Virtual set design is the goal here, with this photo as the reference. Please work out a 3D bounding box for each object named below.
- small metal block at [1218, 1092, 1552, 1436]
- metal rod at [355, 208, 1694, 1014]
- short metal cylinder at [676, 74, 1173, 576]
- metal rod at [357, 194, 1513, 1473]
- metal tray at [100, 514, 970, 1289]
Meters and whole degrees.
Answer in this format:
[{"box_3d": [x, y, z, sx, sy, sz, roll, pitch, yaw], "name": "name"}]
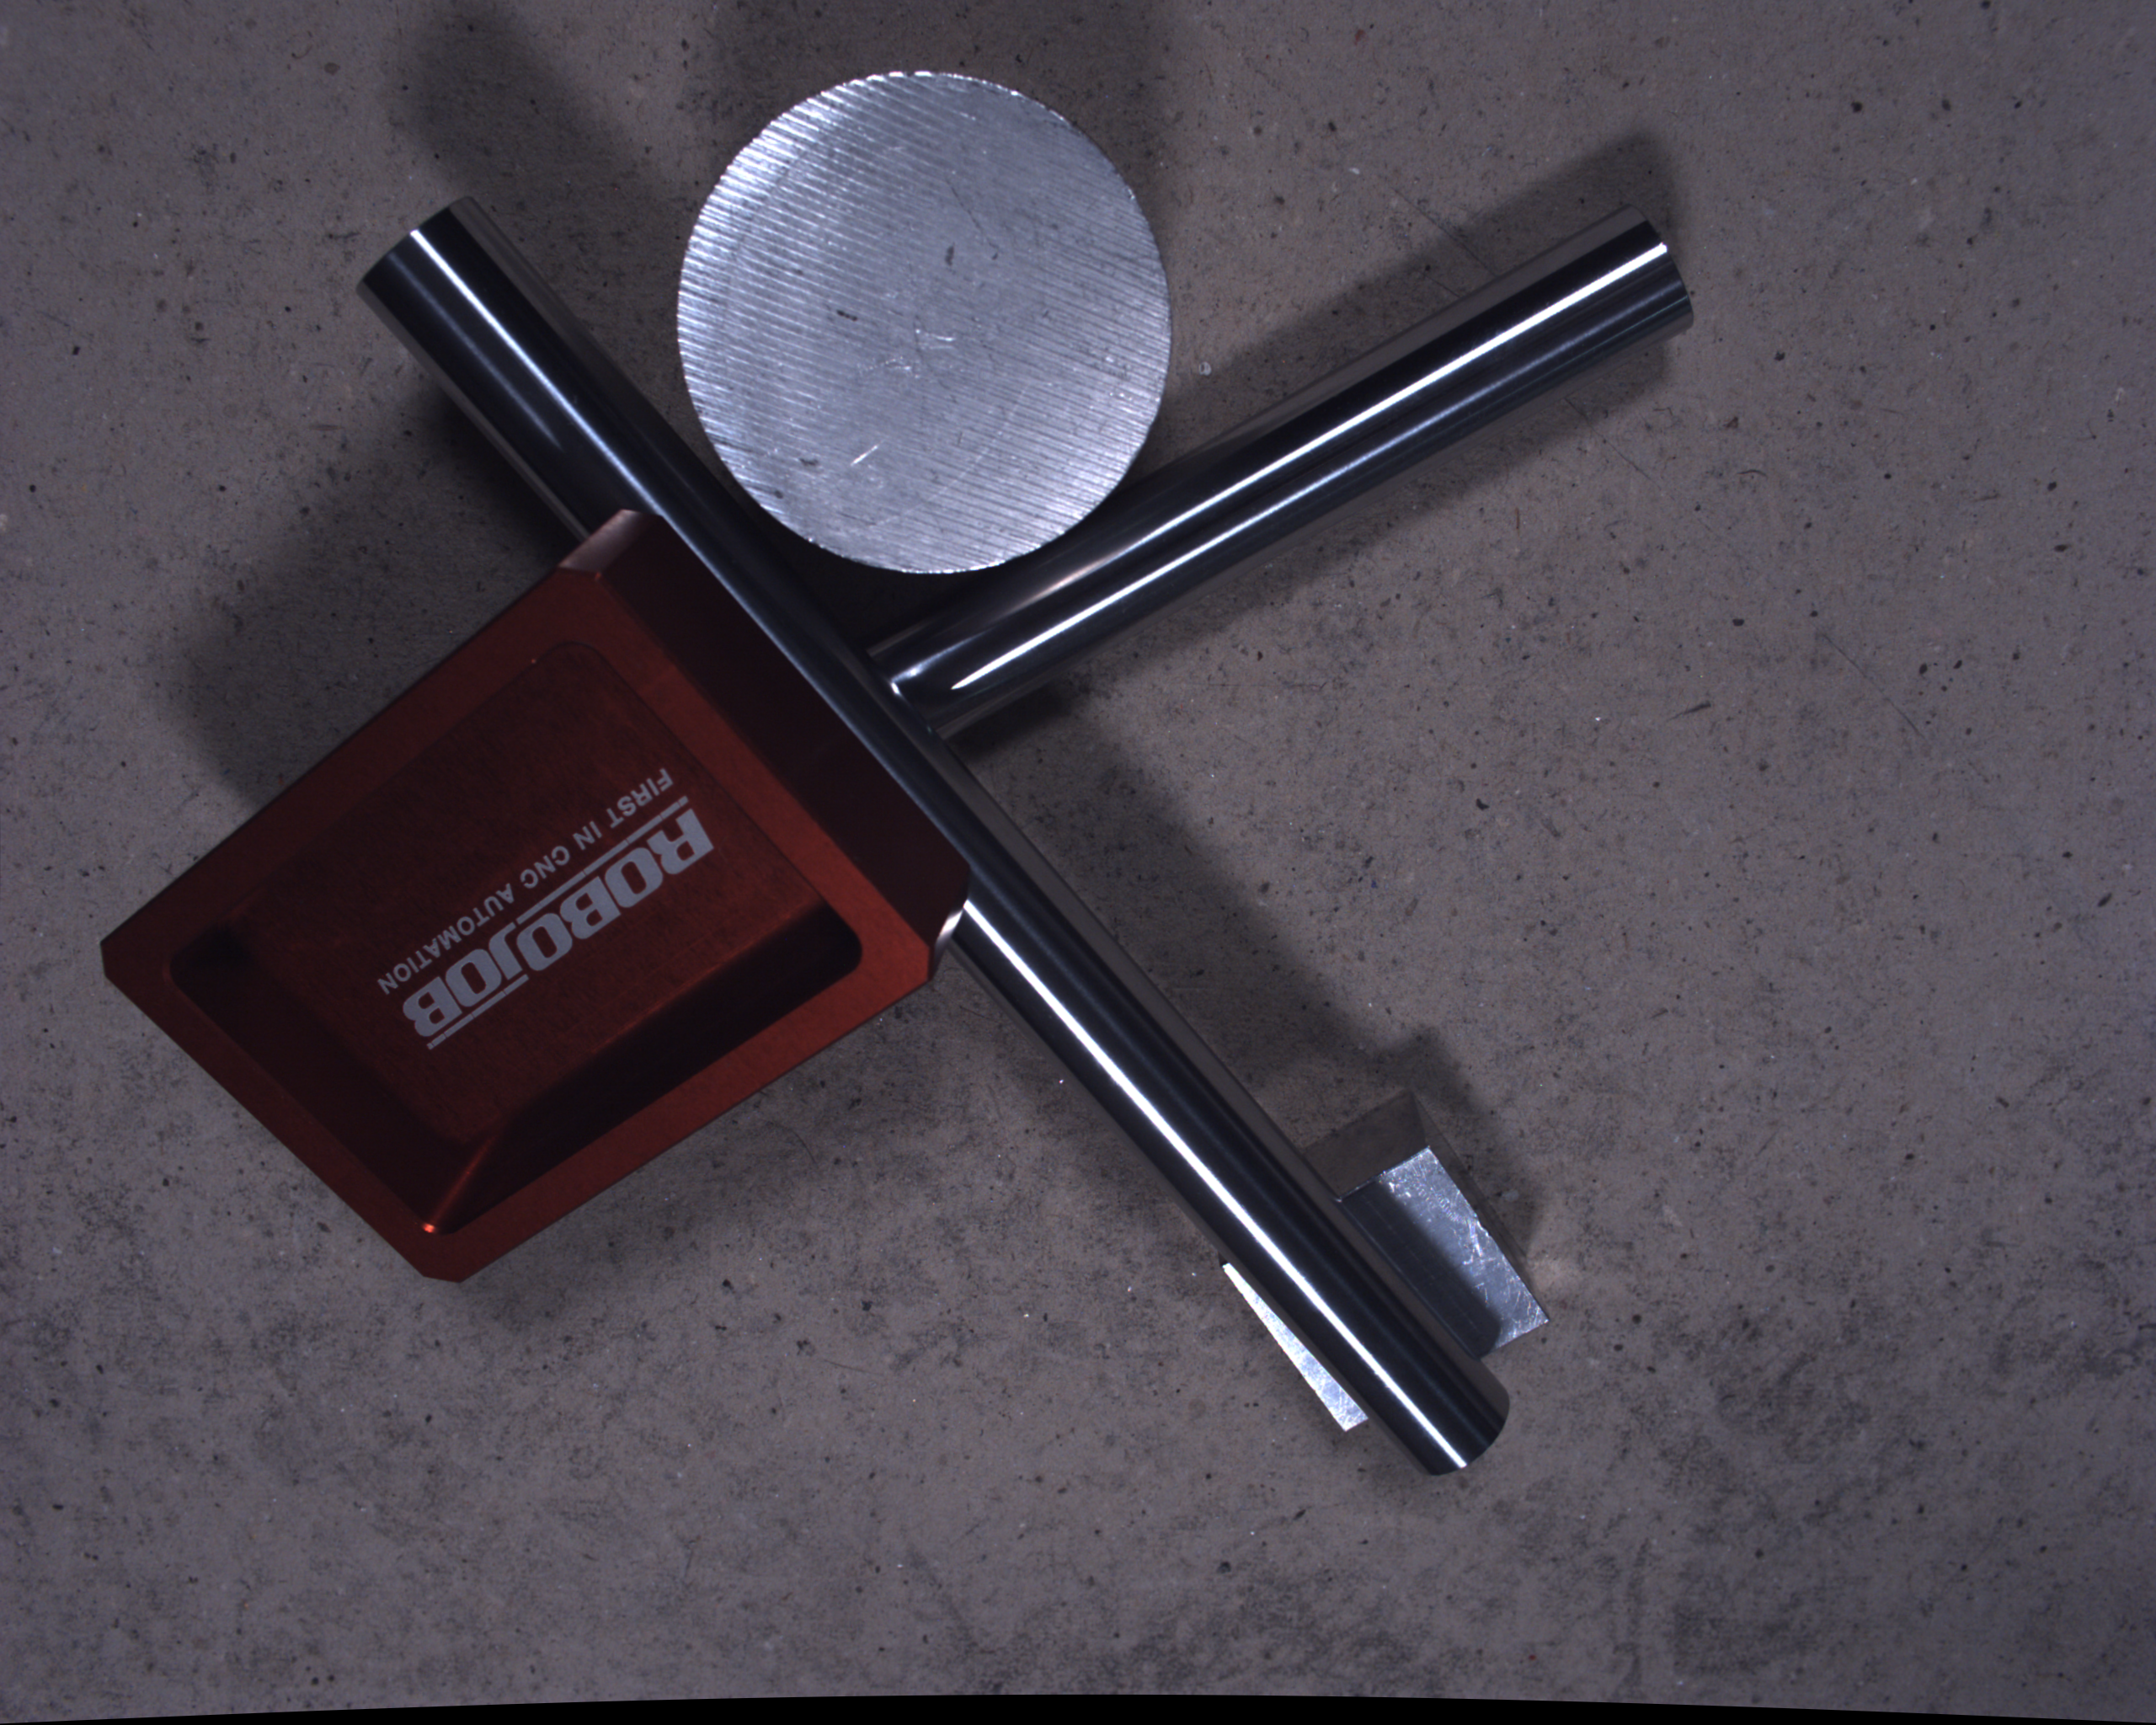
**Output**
[{"box_3d": [0.064, 0.085, 0.443, 0.050, 0.025, 0.050, -32, 107, 10], "name": "small metal block"}, {"box_3d": [-0.027, -0.036, 0.397, 0.301, 0.025, 0.025, -28, 108, 9], "name": "metal rod"}, {"box_3d": [-0.025, -0.094, 0.362, 0.081, 0.050, 0.079, 0, 110, -1], "name": "short metal cylinder"}, {"box_3d": [-0.016, 0.006, 0.387, 0.025, 0.025, 0.300, -37, 106, 12], "name": "metal rod"}, {"box_3d": [-0.096, 0.011, 0.370, 0.130, 0.030, 0.090, -33, 107, 23], "name": "metal tray"}]
